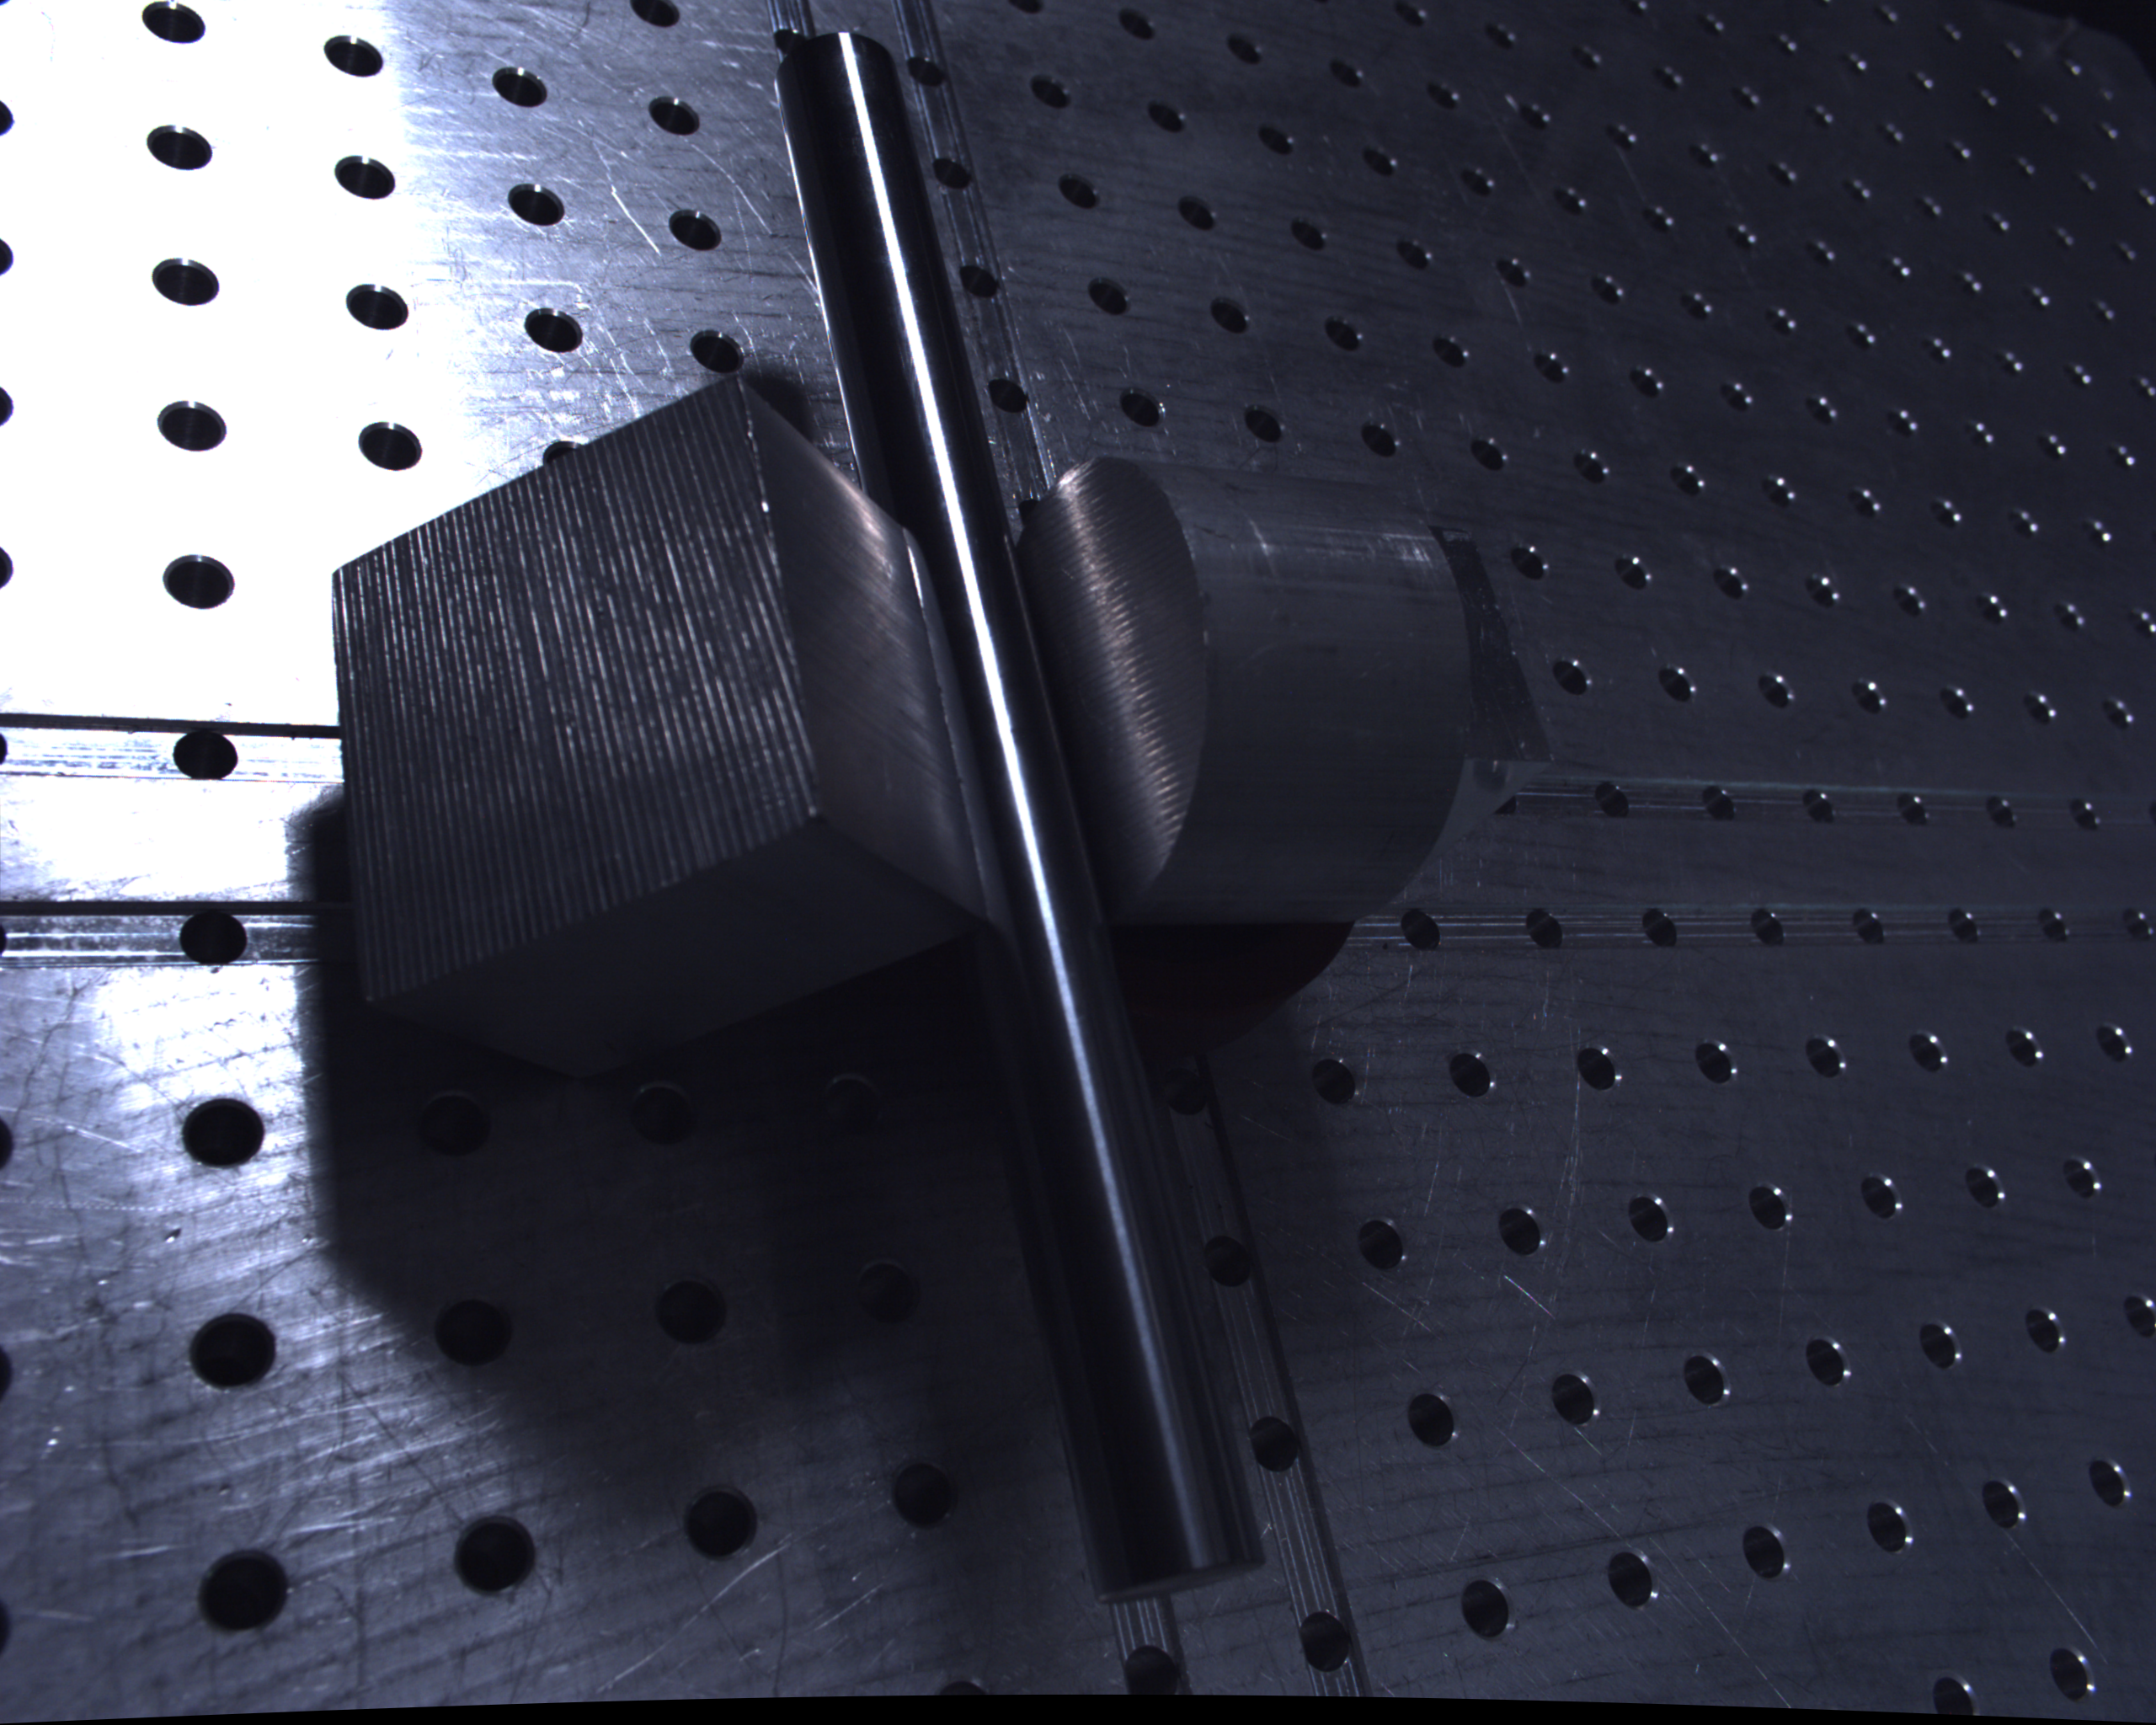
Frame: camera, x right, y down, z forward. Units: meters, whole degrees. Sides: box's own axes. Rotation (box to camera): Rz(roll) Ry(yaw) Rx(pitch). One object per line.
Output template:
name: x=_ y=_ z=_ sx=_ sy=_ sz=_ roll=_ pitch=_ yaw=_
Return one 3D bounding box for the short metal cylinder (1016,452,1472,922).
short metal cylinder: x=0.024 y=-0.029 z=0.366 sx=0.050 sy=0.080 sz=0.080 roll=1 pitch=62 yaw=-28

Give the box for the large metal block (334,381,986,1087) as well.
large metal block: x=-0.069 y=-0.018 z=0.340 sx=0.050 sy=0.080 sz=0.080 roll=40 pitch=33 yaw=-60

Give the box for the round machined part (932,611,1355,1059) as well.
round machined part: x=0.004 y=-0.006 z=0.403 sx=0.099 sy=0.042 sz=0.098 roll=14 pitch=56 yaw=-21

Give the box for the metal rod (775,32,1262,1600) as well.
metal rod: x=-0.018 y=-0.028 z=0.364 sx=0.025 sy=0.025 sz=0.299 roll=1 pitch=61 yaw=-28

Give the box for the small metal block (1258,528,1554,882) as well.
small metal block: x=0.056 y=-0.028 z=0.387 sx=0.025 sy=0.050 sz=0.050 roll=1 pitch=62 yaw=-28
